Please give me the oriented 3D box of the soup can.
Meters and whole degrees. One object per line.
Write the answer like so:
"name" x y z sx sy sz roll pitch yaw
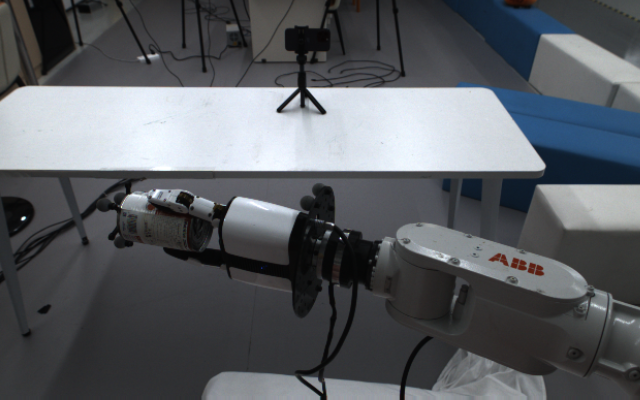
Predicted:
"soup can" -0.195 0.029 0.622 0.101 0.067 0.067 8 35 10
